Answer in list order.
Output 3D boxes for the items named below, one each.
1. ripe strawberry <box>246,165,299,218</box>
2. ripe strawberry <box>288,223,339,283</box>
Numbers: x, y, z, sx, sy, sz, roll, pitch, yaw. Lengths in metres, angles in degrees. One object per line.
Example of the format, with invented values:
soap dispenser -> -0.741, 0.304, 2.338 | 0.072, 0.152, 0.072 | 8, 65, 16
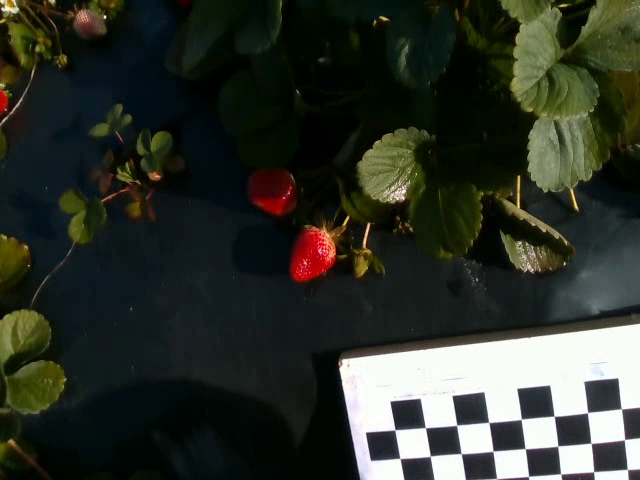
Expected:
ripe strawberry -> -0.041, -0.042, 0.539 | 0.054, 0.048, 0.039 | 4, 10, -15
ripe strawberry -> -0.010, 0.013, 0.508 | 0.043, 0.053, 0.039 | 35, -27, 2
